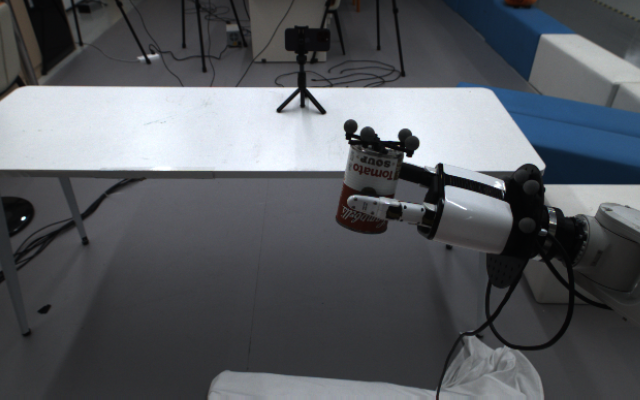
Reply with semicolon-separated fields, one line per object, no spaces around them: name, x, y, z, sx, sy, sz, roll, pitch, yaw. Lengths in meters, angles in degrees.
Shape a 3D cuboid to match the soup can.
soup can;0.063;-0.019;0.603;0.067;0.101;0.067;9;20;-3
